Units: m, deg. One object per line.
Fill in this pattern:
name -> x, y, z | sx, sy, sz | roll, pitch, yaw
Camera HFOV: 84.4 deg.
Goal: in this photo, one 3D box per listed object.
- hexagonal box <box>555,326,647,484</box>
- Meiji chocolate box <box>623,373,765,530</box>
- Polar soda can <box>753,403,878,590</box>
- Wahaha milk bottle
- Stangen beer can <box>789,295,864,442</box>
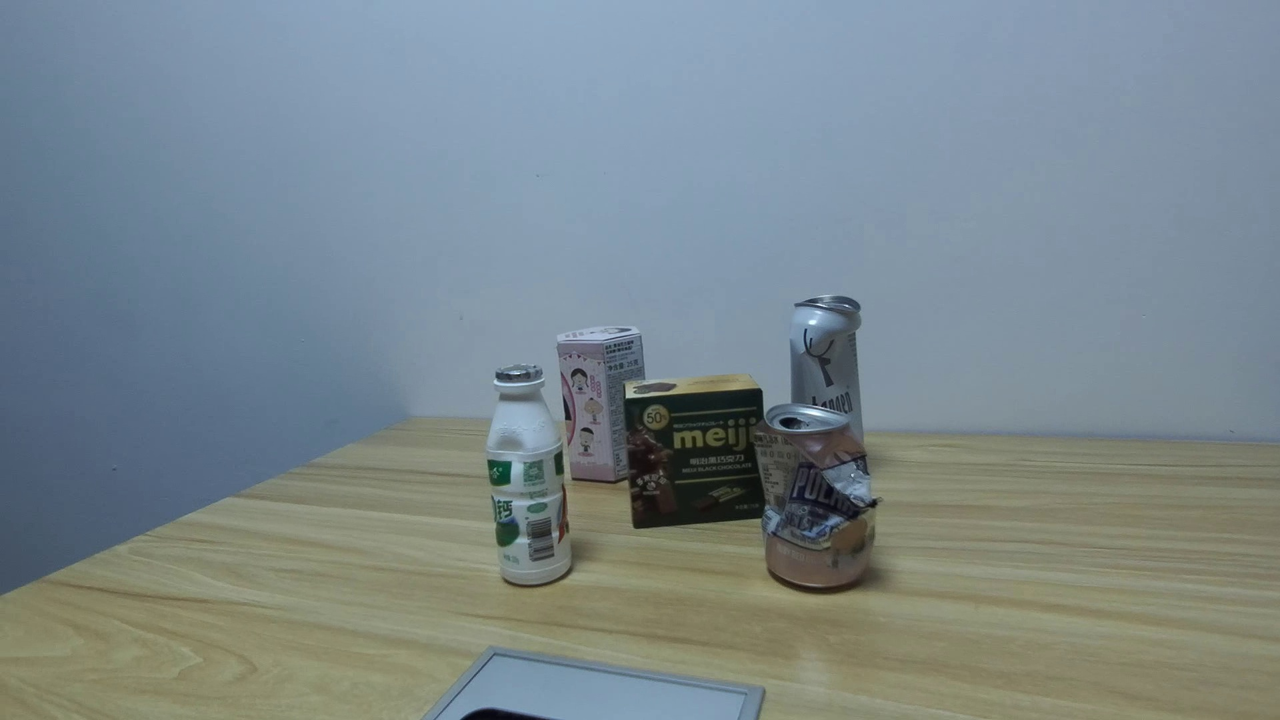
hexagonal box -> -0.035, 0.041, 0.684 | 0.084, 0.136, 0.091 | -5, 11, -6
Meiji chocolate box -> 0.044, 0.072, 0.570 | 0.110, 0.109, 0.056 | -4, 12, -2
Polar soda can -> 0.113, 0.088, 0.456 | 0.074, 0.114, 0.070 | -5, 17, 12
Wahaha milk bottle -> -0.077, 0.084, 0.487 | 0.053, 0.136, 0.053 | -3, 10, 1
Stangen beer can -> 0.161, 0.028, 0.607 | 0.066, 0.162, 0.077 | -4, 13, 6
